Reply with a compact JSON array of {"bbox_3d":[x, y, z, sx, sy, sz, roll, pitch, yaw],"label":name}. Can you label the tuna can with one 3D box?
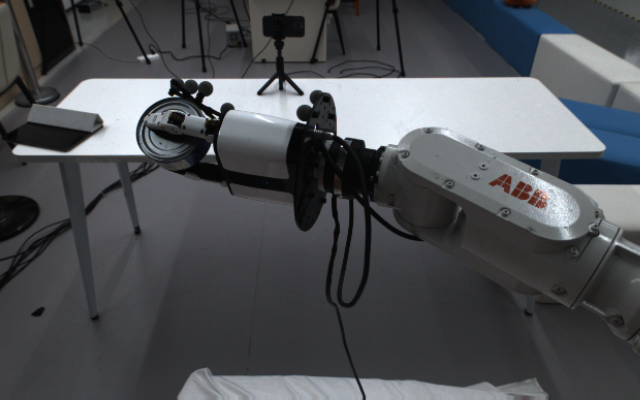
[{"bbox_3d":[-0.177,-0.080,0.597,0.085,0.034,0.085,-2,70,6],"label":"tuna can"}]
